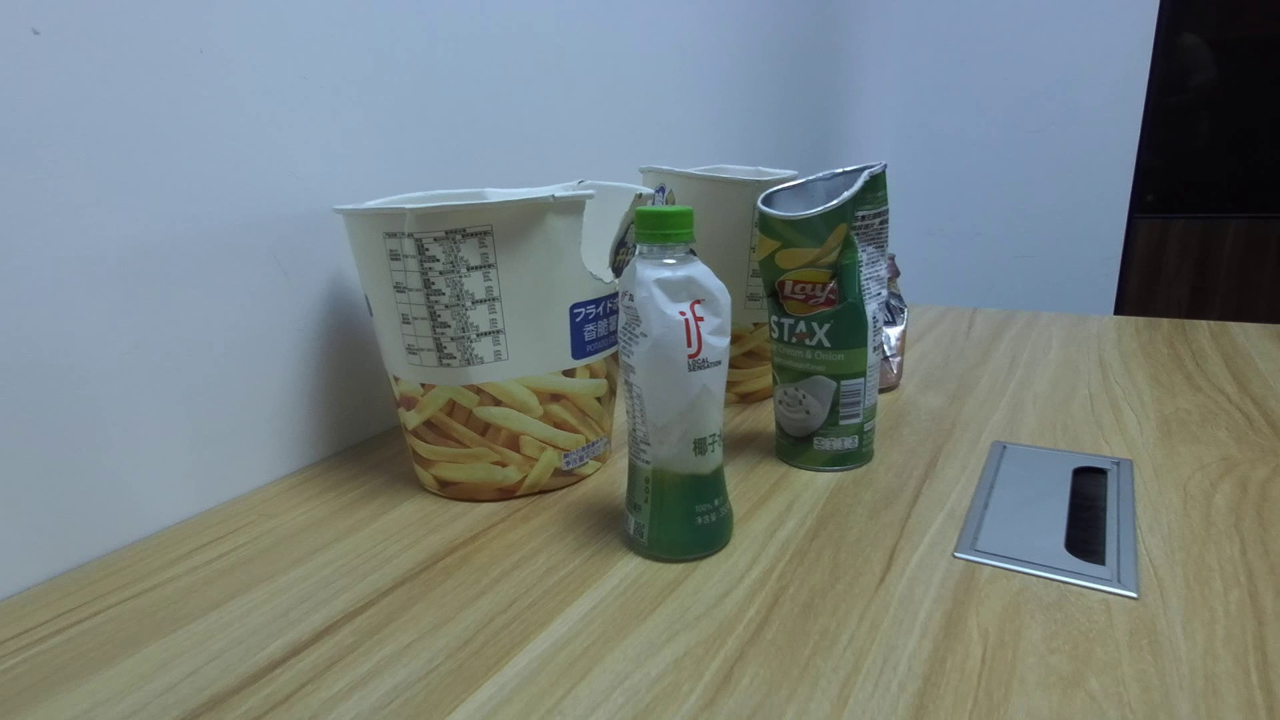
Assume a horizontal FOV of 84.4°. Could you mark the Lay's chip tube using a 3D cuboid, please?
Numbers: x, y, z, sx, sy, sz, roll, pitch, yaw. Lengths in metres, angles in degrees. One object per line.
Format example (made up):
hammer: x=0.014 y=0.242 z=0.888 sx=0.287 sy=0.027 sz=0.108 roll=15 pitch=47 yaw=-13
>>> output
Lay's chip tube: x=0.120 y=-0.023 z=0.464 sx=0.079 sy=0.199 sz=0.071 roll=2 pitch=27 yaw=20

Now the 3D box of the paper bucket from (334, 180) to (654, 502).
paper bucket: x=-0.095 y=-0.020 z=0.502 sx=0.203 sy=0.197 sz=0.145 roll=-8 pitch=19 yaw=-10

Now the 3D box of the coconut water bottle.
coconut water bottle: x=0.018 y=0.012 z=0.384 sx=0.067 sy=0.187 sz=0.067 roll=-3 pitch=16 yaw=1

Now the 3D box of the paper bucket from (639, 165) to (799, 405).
paper bucket: x=0.062 y=-0.073 z=0.635 sx=0.148 sy=0.199 sz=0.217 roll=-18 pitch=22 yaw=-42
